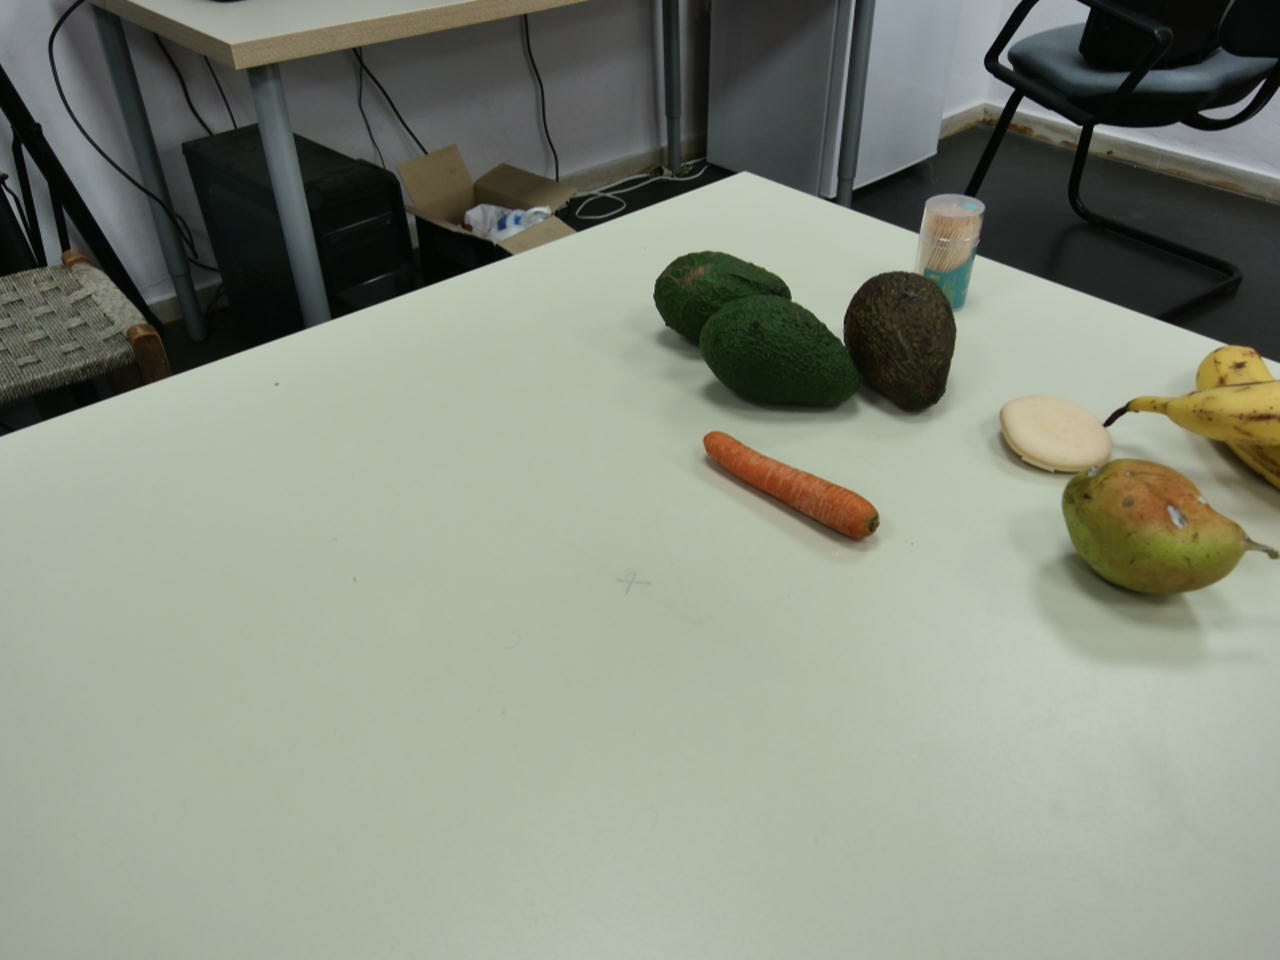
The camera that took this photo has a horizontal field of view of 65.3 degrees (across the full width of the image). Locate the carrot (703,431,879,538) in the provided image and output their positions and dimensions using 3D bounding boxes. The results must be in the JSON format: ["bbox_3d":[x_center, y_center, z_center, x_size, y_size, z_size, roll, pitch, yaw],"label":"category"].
[{"bbox_3d":[0.081,0.000,0.560,0.024,0.023,0.122,-29,45,-34],"label":"carrot"}]
